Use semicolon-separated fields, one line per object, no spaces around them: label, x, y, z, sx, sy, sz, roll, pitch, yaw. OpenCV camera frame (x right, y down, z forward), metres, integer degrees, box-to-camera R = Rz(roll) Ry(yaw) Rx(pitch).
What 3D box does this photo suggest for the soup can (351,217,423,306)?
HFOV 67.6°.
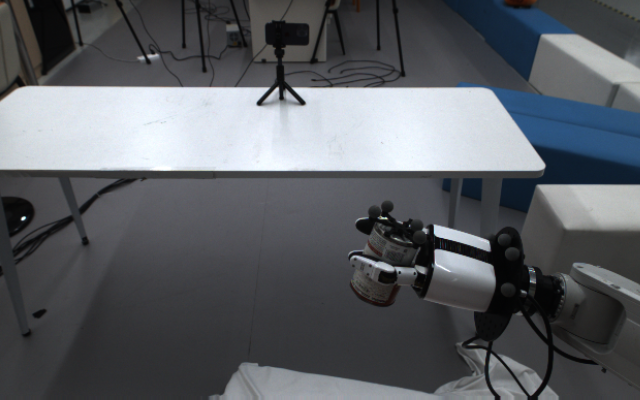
soup can;0.091;0.086;0.666;0.067;0.101;0.067;17;21;-7
